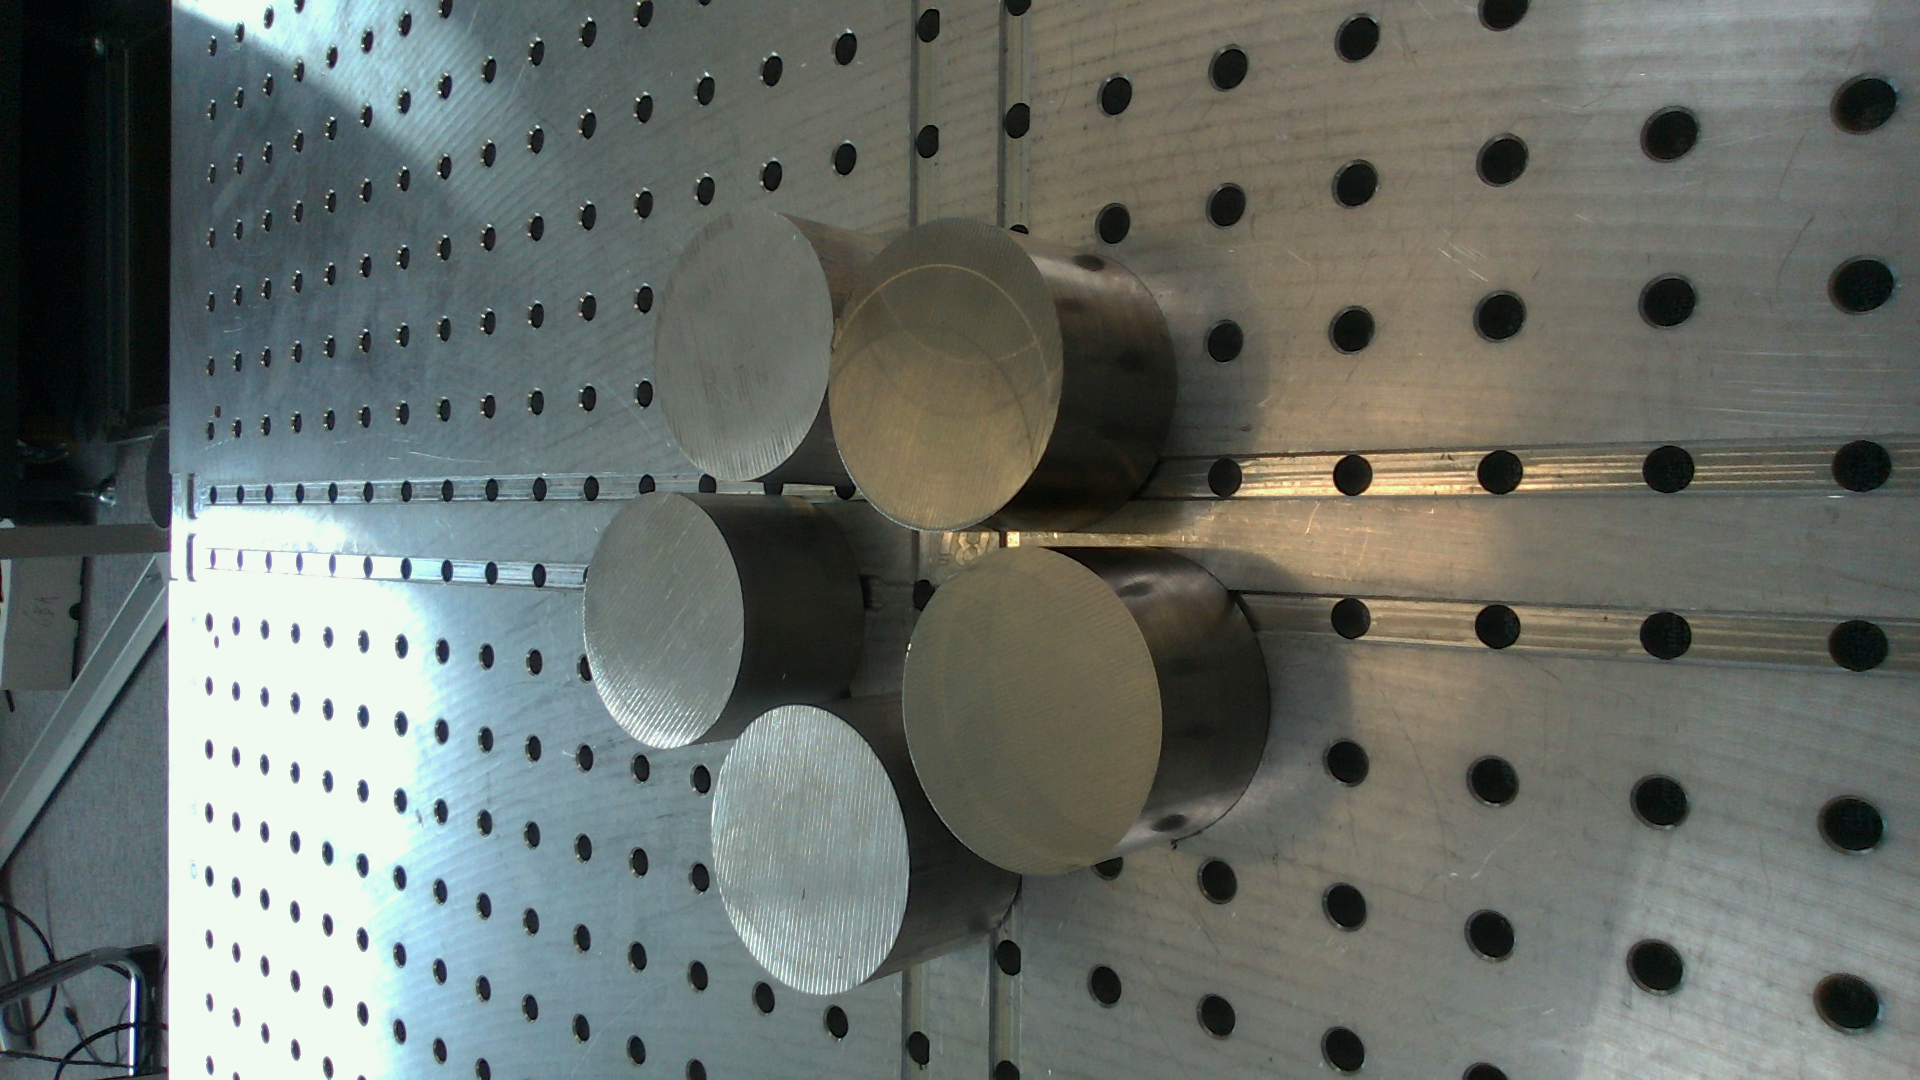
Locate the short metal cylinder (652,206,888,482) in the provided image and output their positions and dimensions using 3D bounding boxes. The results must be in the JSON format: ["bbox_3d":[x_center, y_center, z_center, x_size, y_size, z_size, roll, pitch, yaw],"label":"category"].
[{"bbox_3d":[-0.049,-0.058,0.423,0.080,0.050,0.080,0,90,40],"label":"short metal cylinder"}]

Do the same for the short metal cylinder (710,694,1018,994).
[{"bbox_3d":[-0.028,0.086,0.404,0.080,0.050,0.080,0,89,41],"label":"short metal cylinder"}]

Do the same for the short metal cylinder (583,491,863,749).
[{"bbox_3d":[-0.078,0.025,0.447,0.080,0.050,0.080,0,91,40],"label":"short metal cylinder"}]

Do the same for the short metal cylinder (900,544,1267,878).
[{"bbox_3d":[0.031,0.042,0.354,0.080,0.050,0.080,1,92,40],"label":"short metal cylinder"}]

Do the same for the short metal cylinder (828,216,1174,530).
[{"bbox_3d":[0.010,-0.043,0.372,0.080,0.050,0.080,0,90,40],"label":"short metal cylinder"}]
